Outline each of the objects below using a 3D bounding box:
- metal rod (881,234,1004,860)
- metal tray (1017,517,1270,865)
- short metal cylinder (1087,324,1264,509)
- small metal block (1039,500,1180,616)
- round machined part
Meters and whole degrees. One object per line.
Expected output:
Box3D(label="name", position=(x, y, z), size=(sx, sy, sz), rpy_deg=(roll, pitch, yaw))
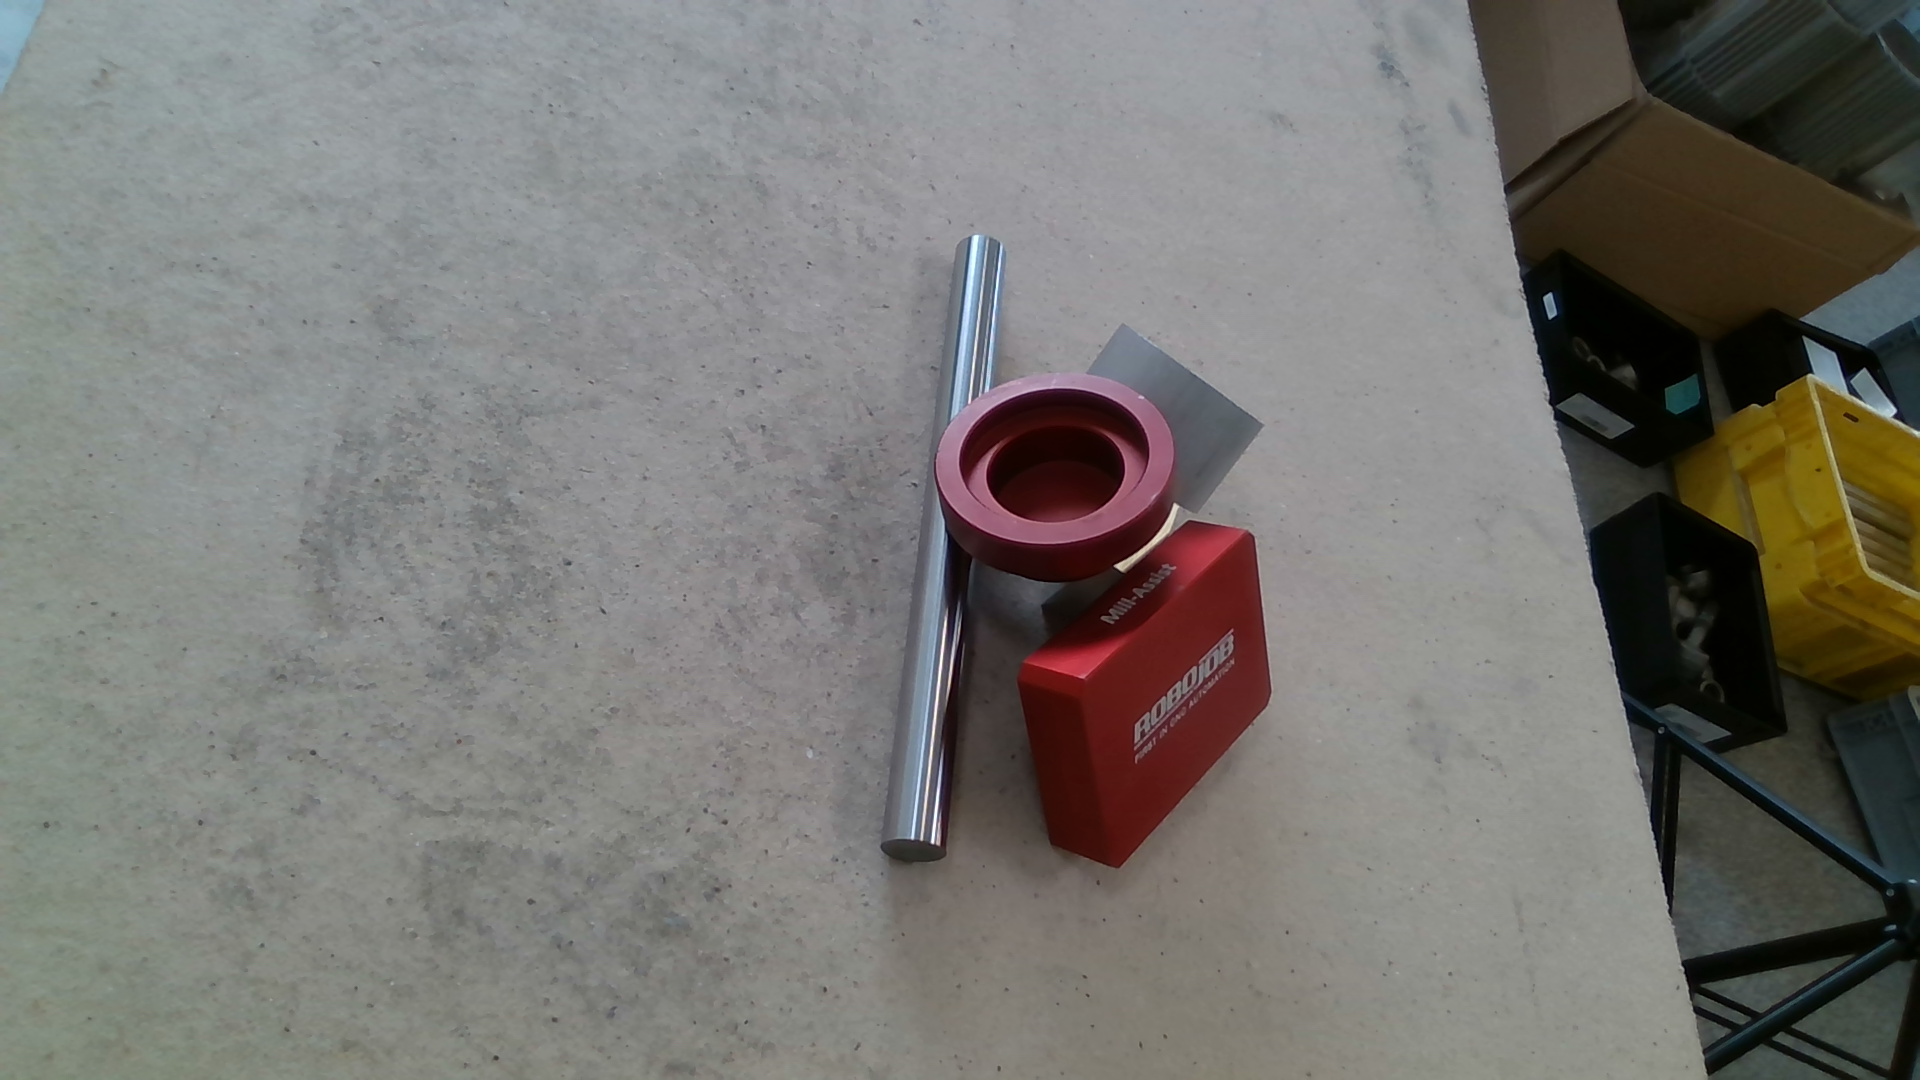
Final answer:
Box3D(label="metal rod", position=(-0.004, -0.012, 0.591), size=(0.025, 0.025, 0.299), rpy_deg=(20, 56, -22))
Box3D(label="metal tray", position=(0.081, 0.059, 0.568), size=(0.130, 0.030, 0.090), rpy_deg=(-36, 125, -39))
Box3D(label="short metal cylinder", position=(0.092, -0.057, 0.632), size=(0.080, 0.050, 0.080), rpy_deg=(34, 11, -7))
Box3D(label="small metal block", position=(0.066, 0.005, 0.606), size=(0.025, 0.050, 0.050), rpy_deg=(35, 52, -11))
Box3D(label="round machined part", position=(0.040, -0.022, 0.572), size=(0.098, 0.042, 0.098), rpy_deg=(-4, 49, 5))
